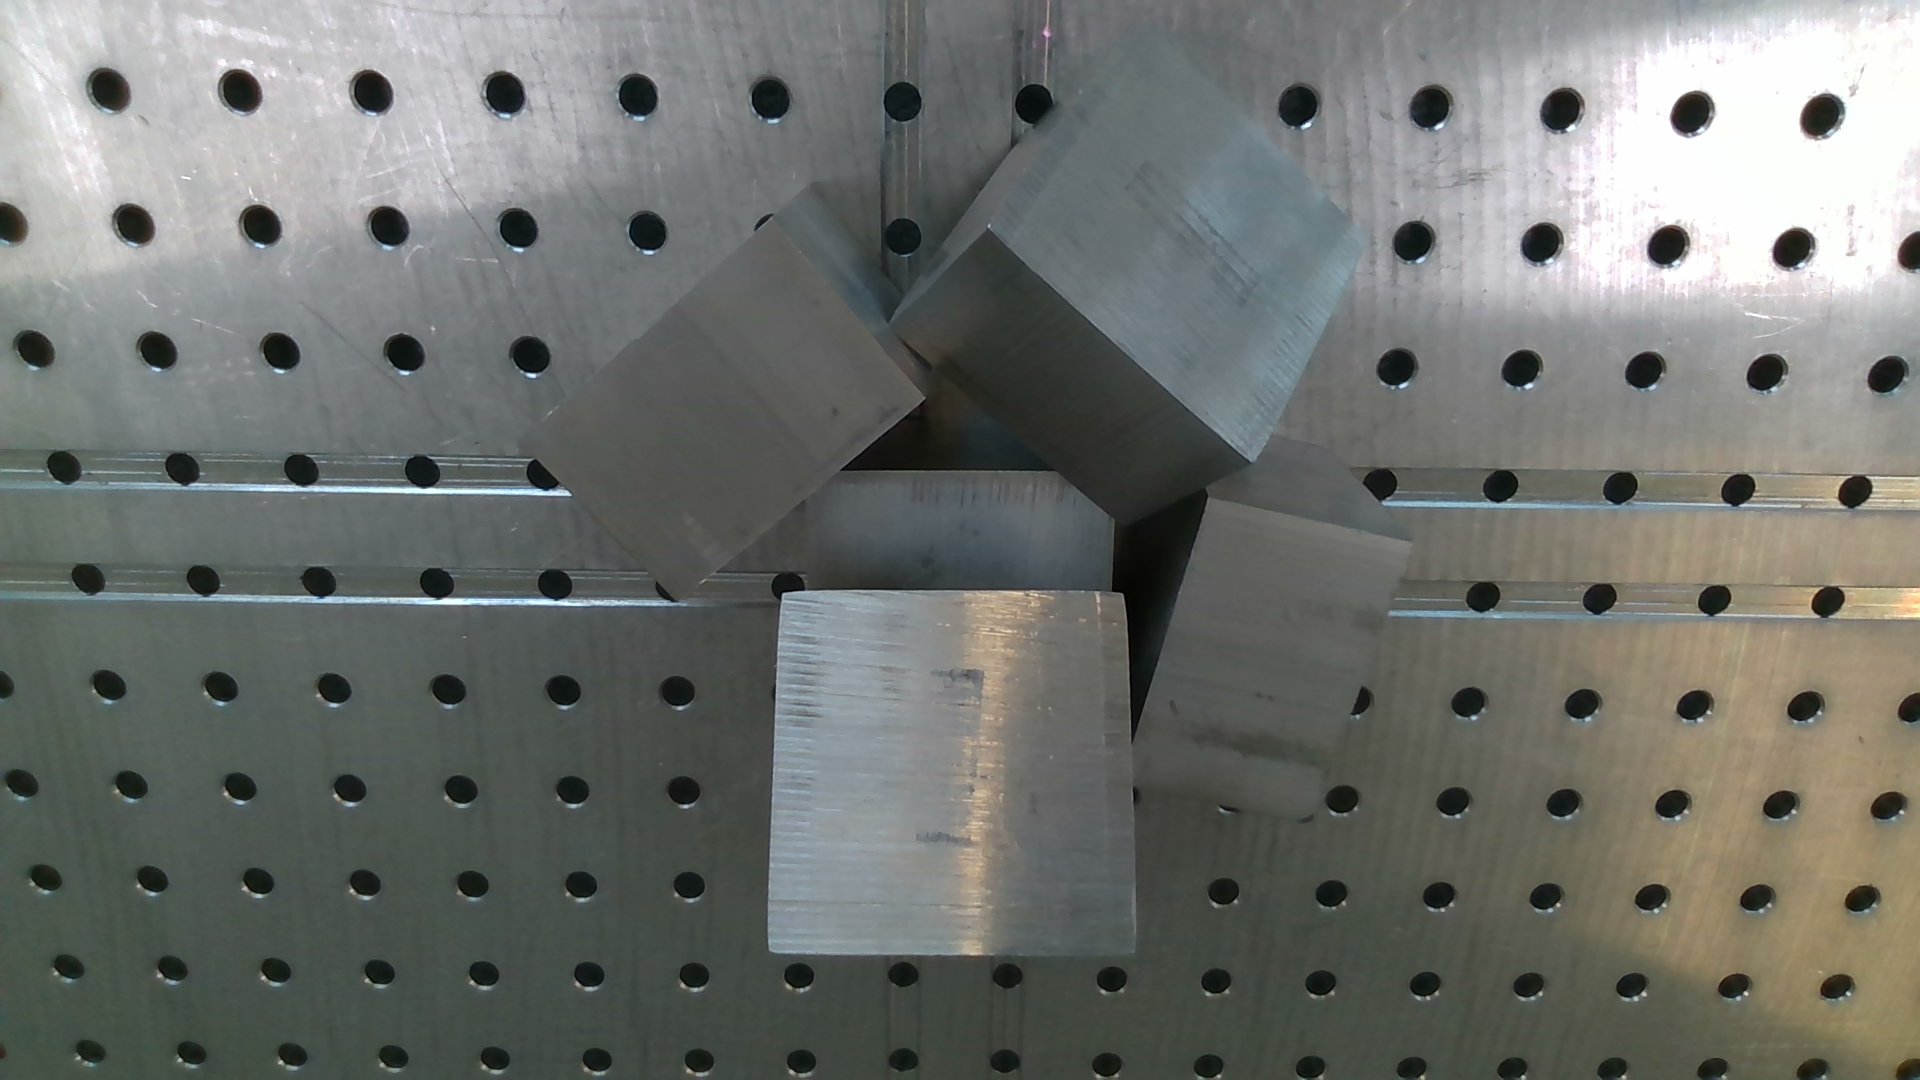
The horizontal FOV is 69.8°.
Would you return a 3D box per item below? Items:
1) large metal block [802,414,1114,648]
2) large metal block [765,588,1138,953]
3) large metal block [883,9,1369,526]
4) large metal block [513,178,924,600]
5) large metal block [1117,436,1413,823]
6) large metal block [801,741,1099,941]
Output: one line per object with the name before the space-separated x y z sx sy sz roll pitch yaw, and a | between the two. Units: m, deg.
large metal block | -0.001 0.010 0.386 0.080 0.050 0.080 1 110 0
large metal block | -0.002 0.056 0.329 0.080 0.050 0.080 0 76 -1
large metal block | 0.042 -0.065 0.336 0.080 0.080 0.050 39 150 -13
large metal block | -0.055 -0.042 0.350 0.080 0.080 0.050 -38 106 13
large metal block | 0.073 0.017 0.373 0.050 0.080 0.080 12 109 -5
large metal block | -0.002 0.089 0.390 0.080 0.080 0.050 0 72 -1
